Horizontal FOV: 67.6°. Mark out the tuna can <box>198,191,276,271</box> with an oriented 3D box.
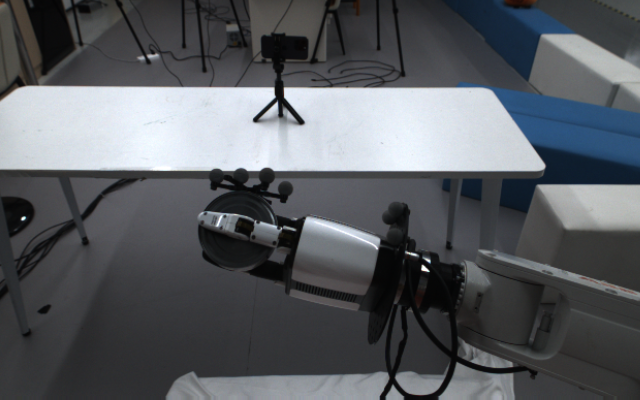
[{"bbox_3d":[-0.088,0.034,0.534,0.085,0.034,0.085,1,72,-3],"label":"tuna can"}]
